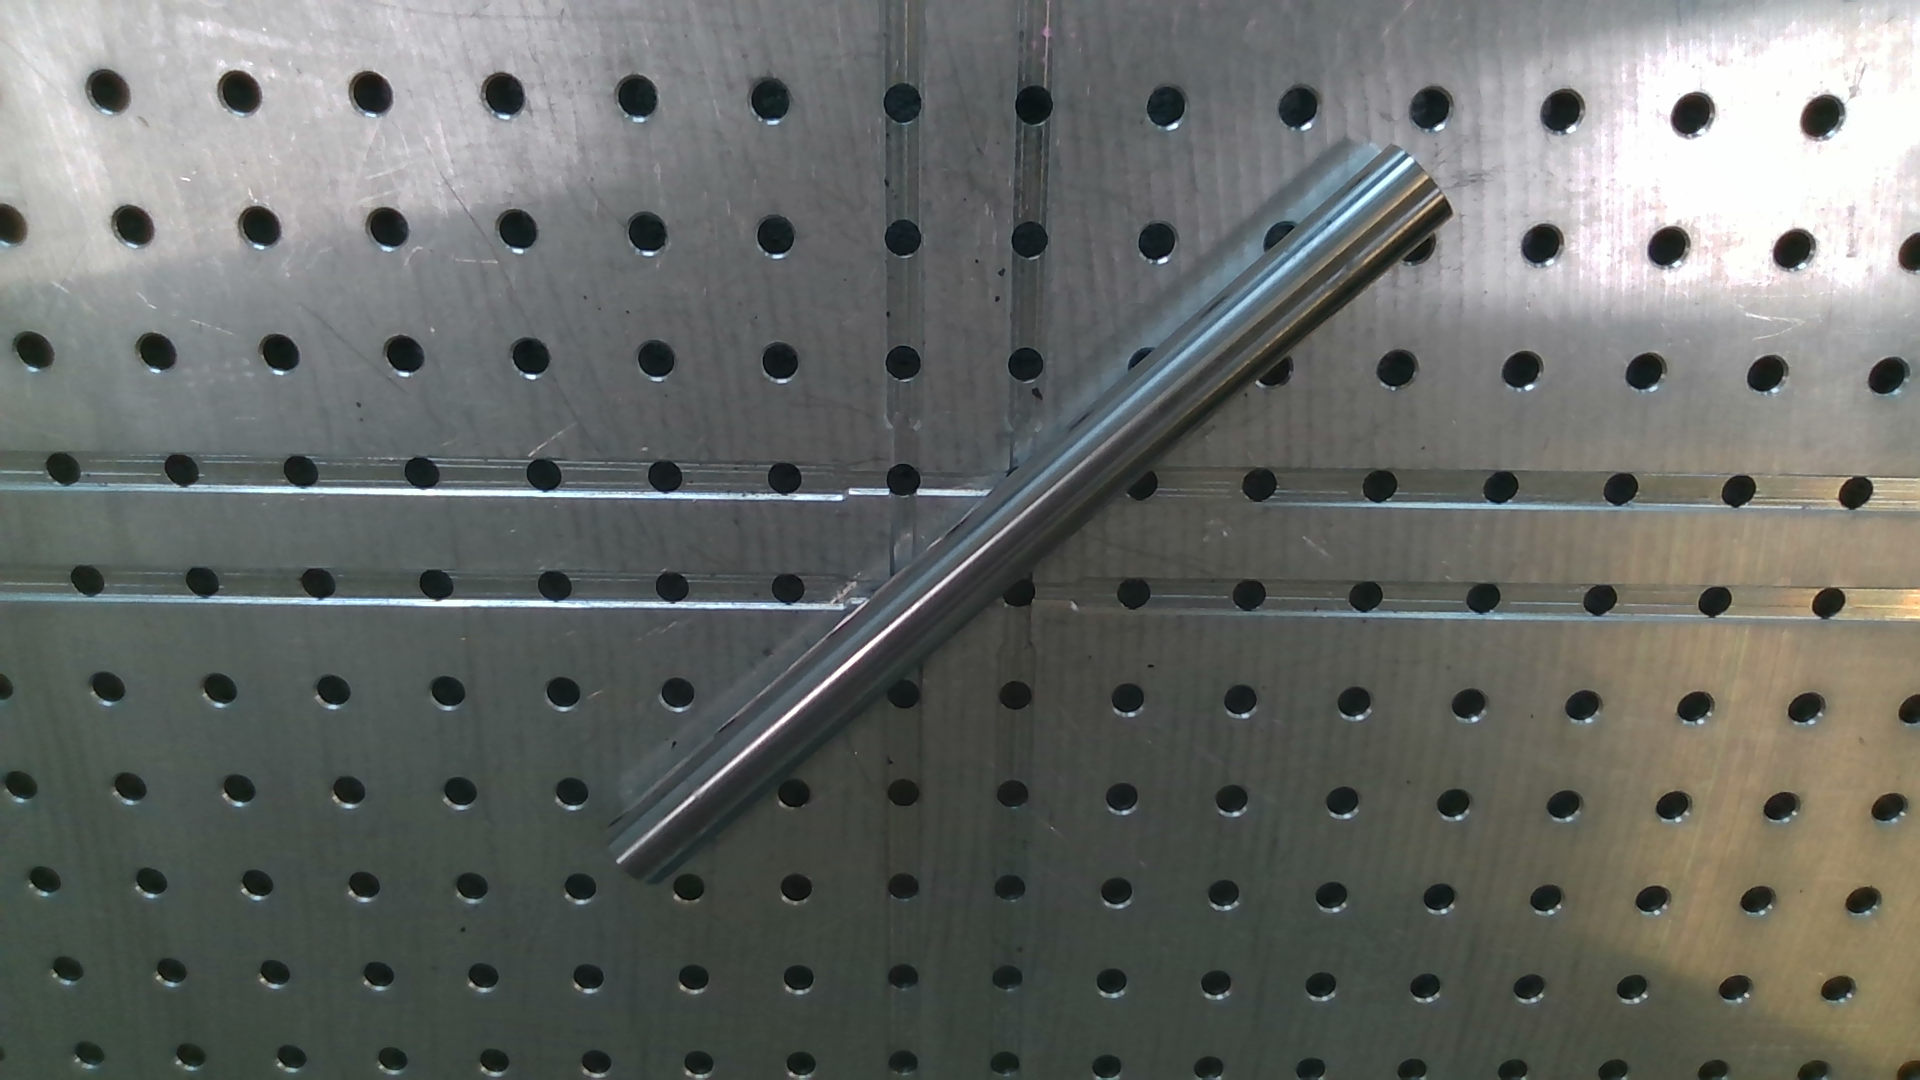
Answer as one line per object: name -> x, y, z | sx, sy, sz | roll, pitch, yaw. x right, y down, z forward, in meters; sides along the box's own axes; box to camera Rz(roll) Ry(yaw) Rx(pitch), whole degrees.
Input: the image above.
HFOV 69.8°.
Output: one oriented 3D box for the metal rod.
metal rod -> 0.010, 0.000, 0.396 | 0.300, 0.025, 0.025 | -41, 105, 13
